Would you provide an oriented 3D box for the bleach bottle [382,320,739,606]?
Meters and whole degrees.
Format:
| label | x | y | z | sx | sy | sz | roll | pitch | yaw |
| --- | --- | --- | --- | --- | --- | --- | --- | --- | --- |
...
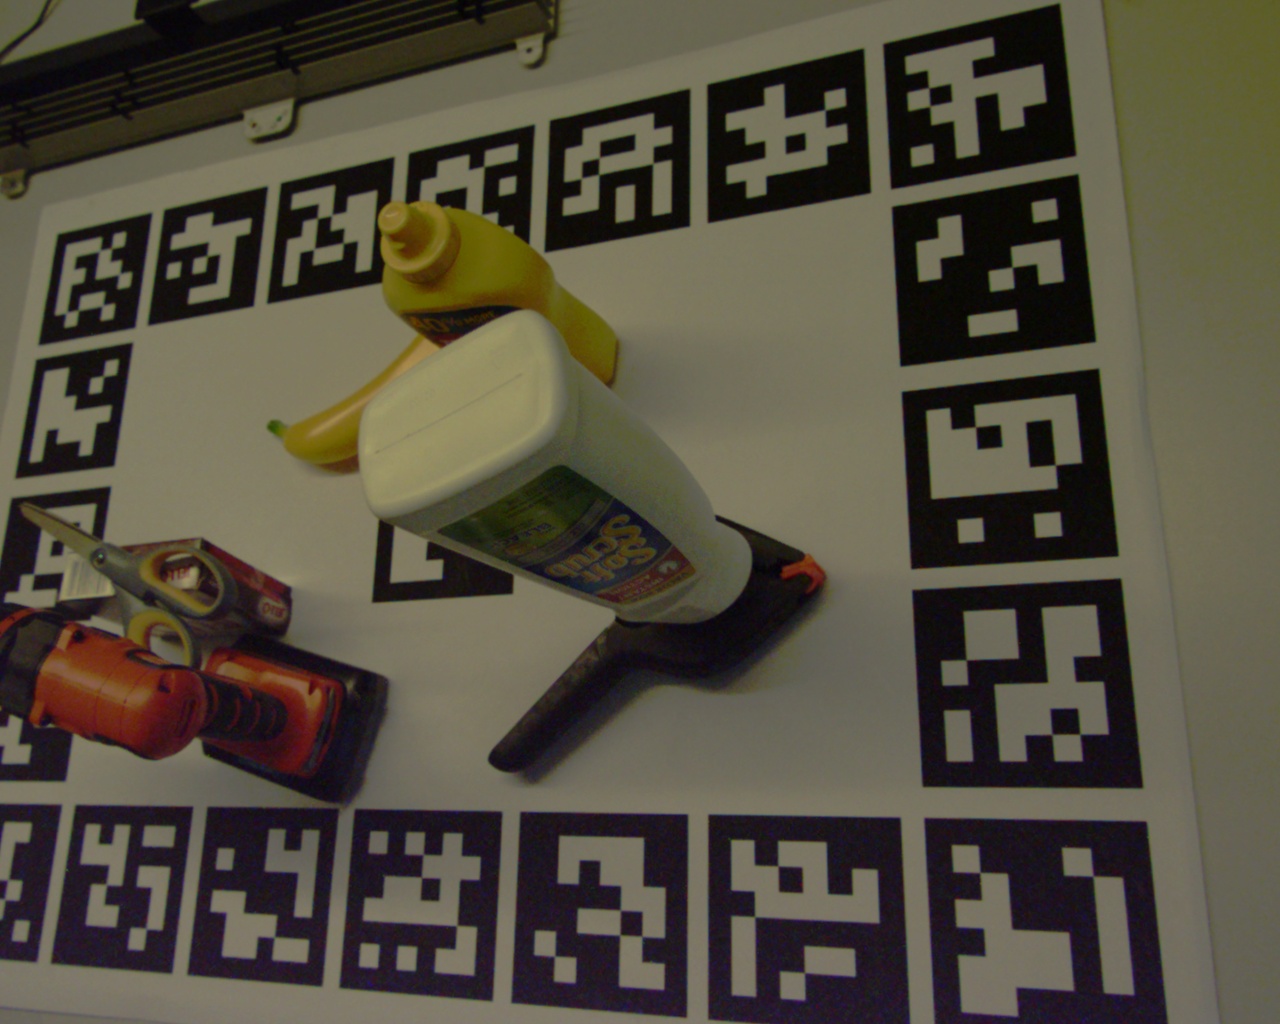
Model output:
| label | x | y | z | sx | sy | sz | roll | pitch | yaw |
| --- | --- | --- | --- | --- | --- | --- | --- | --- | --- |
| bleach bottle | -0.010 | -0.002 | 0.562 | 0.103 | 0.247 | 0.068 | -26 | 63 | 21 |

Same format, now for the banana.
| label | x | y | z | sx | sy | sz | roll | pitch | yaw |
| --- | --- | --- | --- | --- | --- | --- | --- | --- | --- |
| banana | -0.173 | -0.102 | 0.783 | 0.198 | 0.038 | 0.075 | -43 | 47 | 6 |

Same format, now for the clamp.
| label | x | y | z | sx | sy | sz | roll | pitch | yaw |
| --- | --- | --- | --- | --- | --- | --- | --- | --- | --- |
| clamp | -0.007 | 0.043 | 0.663 | 0.204 | 0.036 | 0.166 | -12 | 73 | 17 |

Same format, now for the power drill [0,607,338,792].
| label | x | y | z | sx | sy | sz | roll | pitch | yaw |
| --- | --- | --- | --- | --- | --- | --- | --- | --- | --- |
| power drill | -0.279 | 0.106 | 0.658 | 0.187 | 0.185 | 0.057 | 8 | 71 | 26 |

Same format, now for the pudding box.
| label | x | y | z | sx | sy | sz | roll | pitch | yaw |
| --- | --- | --- | --- | --- | --- | --- | --- | --- | --- |
| pudding box | -0.307 | 0.050 | 0.771 | 0.115 | 0.089 | 0.039 | -1 | 68 | 21 |

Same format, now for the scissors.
| label | x | y | z | sx | sy | sz | roll | pitch | yaw |
| --- | --- | --- | --- | --- | --- | --- | --- | --- | --- |
| scissors | -0.337 | 0.028 | 0.719 | 0.205 | 0.015 | 0.088 | 21 | 88 | 21 |

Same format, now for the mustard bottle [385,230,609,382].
| label | x | y | z | sx | sy | sz | roll | pitch | yaw |
| --- | --- | --- | --- | --- | --- | --- | --- | --- | --- |
| mustard bottle | -0.094 | -0.115 | 0.682 | 0.097 | 0.189 | 0.058 | 9 | 78 | 23 |
